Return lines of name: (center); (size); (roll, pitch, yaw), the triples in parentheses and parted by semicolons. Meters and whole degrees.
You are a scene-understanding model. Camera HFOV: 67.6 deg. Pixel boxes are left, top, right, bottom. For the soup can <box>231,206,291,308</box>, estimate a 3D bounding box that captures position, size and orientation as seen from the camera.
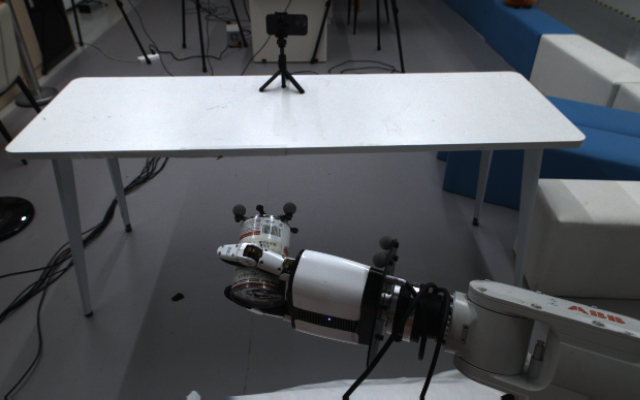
soup can: (-0.073, 0.079, 0.617); (0.067, 0.067, 0.101); (3, 57, 1)
